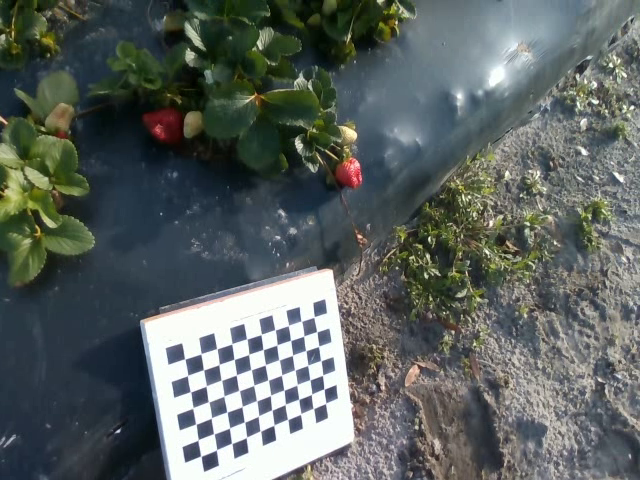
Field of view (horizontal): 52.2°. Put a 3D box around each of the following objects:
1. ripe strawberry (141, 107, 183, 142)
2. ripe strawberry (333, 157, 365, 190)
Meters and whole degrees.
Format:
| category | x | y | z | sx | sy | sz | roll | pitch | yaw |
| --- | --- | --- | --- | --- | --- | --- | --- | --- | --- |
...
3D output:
| category | x | y | z | sx | sy | sz | roll | pitch | yaw |
| --- | --- | --- | --- | --- | --- | --- | --- | --- | --- |
| ripe strawberry | -0.231 | -0.168 | 0.937 | 0.057 | 0.058 | 0.071 | 3 | 5 | 32 |
| ripe strawberry | 0.051 | -0.103 | 1.010 | 0.048 | 0.050 | 0.035 | -37 | 17 | -25 |
